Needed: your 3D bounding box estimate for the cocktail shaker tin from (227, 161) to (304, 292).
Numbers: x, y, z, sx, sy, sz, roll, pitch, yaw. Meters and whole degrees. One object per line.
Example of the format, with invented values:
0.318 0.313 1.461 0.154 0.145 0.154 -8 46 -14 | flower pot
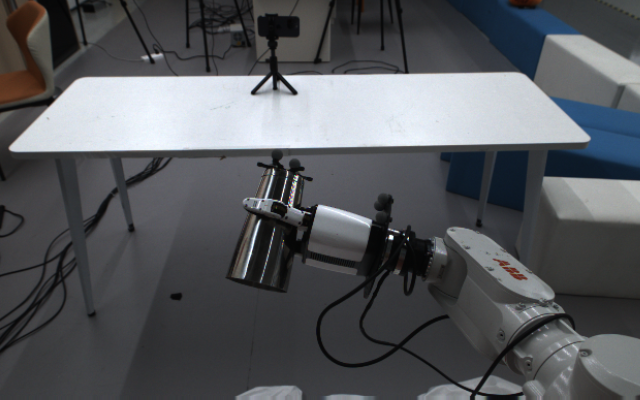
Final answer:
-0.075 0.044 0.720 0.093 0.093 0.170 10 74 12 | cocktail shaker tin
